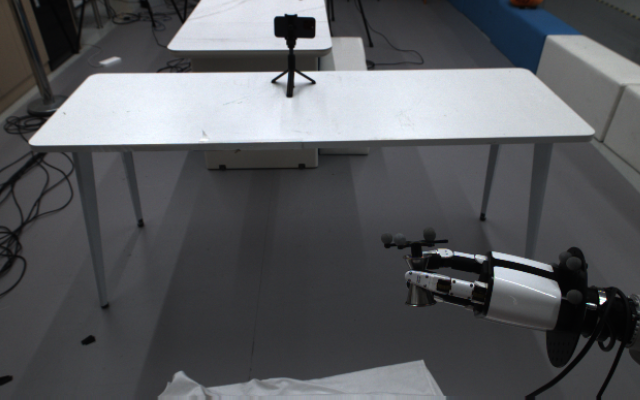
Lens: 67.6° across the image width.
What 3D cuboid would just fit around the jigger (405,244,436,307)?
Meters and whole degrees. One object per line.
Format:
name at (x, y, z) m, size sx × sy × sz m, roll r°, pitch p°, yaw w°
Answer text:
jigger at (0.138, 0.111, 0.682) m, size 0.043 × 0.071 × 0.043 m, roll -4°, pitch 1°, yaw 0°
